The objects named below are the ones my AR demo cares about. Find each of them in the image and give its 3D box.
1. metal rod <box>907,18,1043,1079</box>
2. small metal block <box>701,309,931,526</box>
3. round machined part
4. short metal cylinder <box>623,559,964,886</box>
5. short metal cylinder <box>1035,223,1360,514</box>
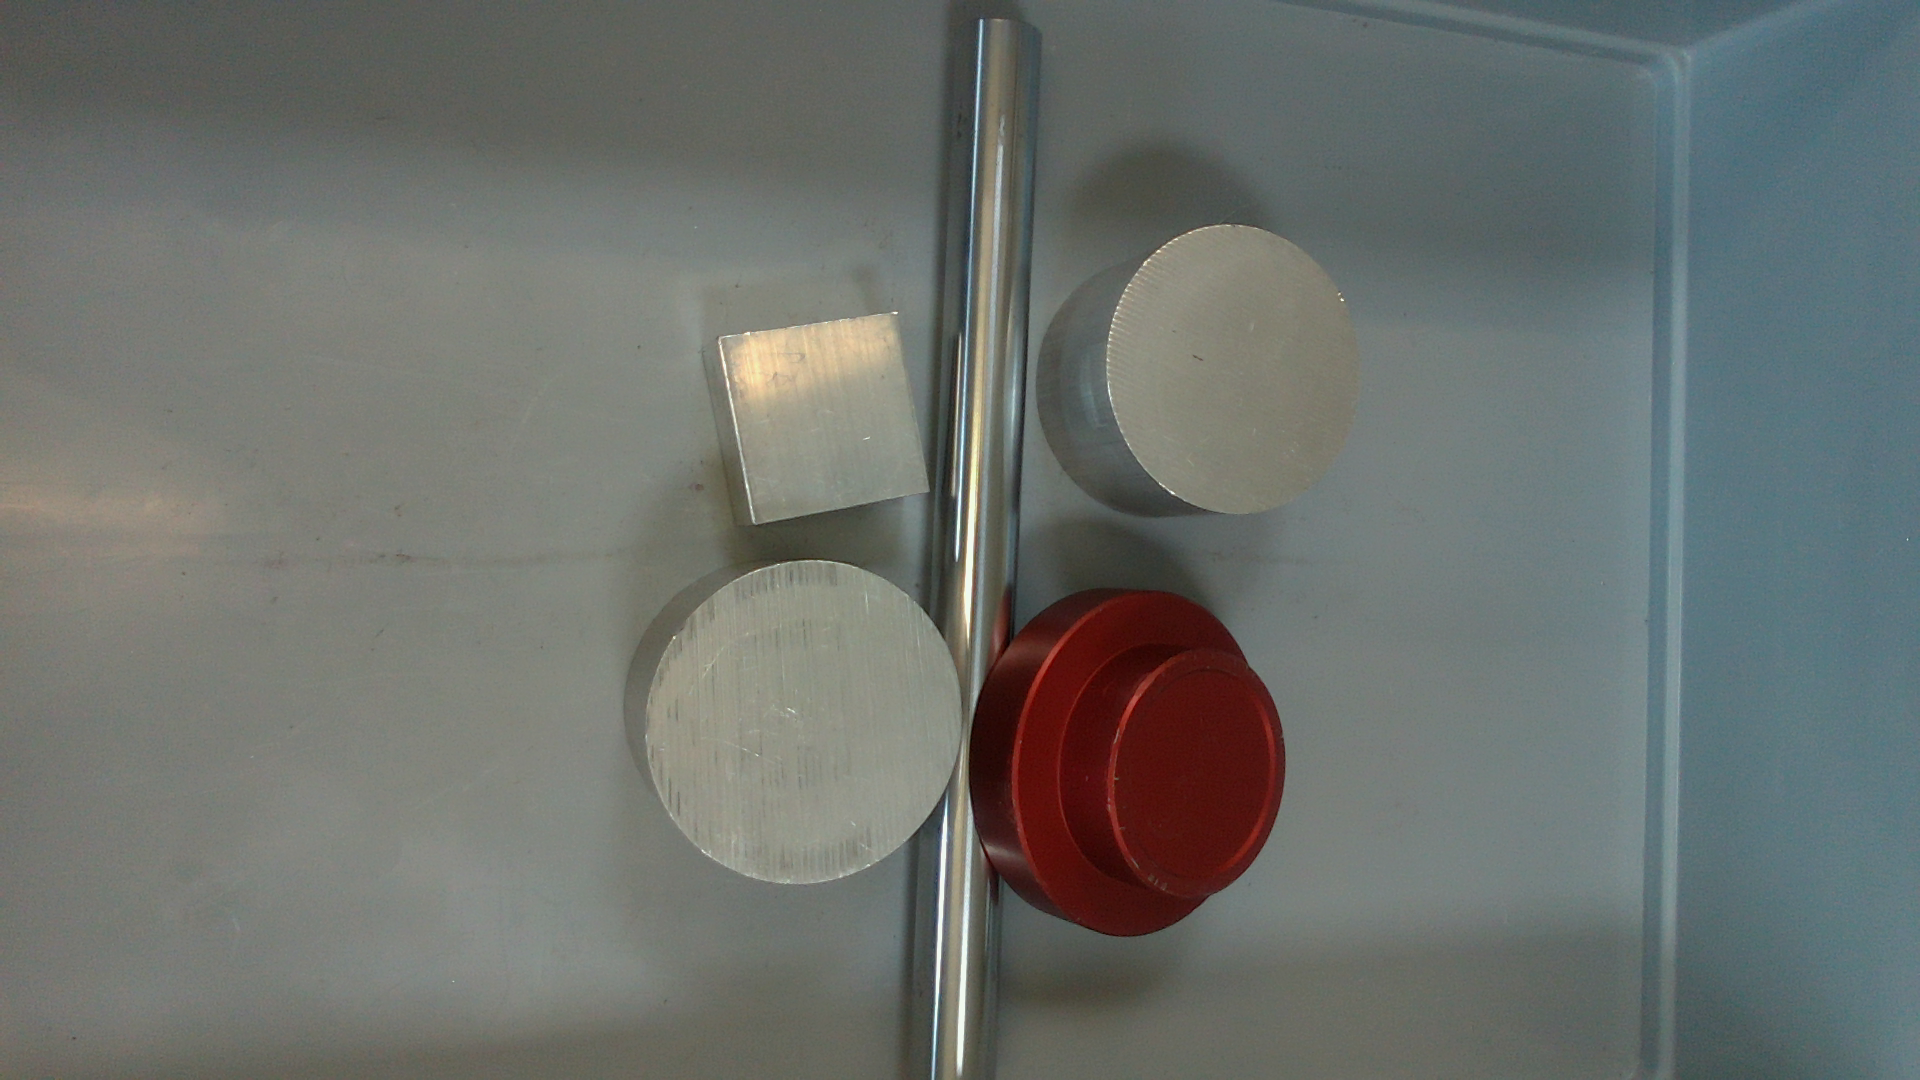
[{"bbox_3d":[0.004,0.005,0.393,0.025,0.025,0.300,3,89,-20],"label":"metal rod"},{"bbox_3d":[-0.040,-0.033,0.377,0.050,0.025,0.050,-12,94,-20],"label":"small metal block"},{"bbox_3d":[0.054,0.063,0.390,0.098,0.042,0.098,0,89,-36],"label":"round machined part"},{"bbox_3d":[-0.045,0.045,0.362,0.080,0.050,0.080,0,90,-20],"label":"short metal cylinder"},{"bbox_3d":[0.069,-0.047,0.403,0.080,0.050,0.080,0,90,-20],"label":"short metal cylinder"}]
